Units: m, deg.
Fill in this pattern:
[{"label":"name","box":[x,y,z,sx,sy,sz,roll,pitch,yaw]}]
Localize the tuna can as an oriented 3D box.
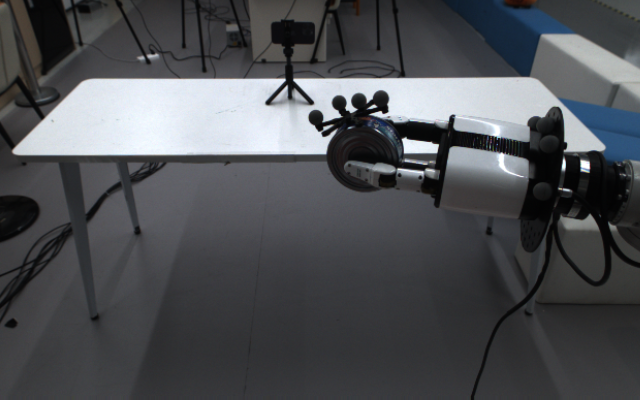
[{"label":"tuna can","box":[0.054,-0.054,0.562,0.085,0.085,0.034,11,34,13]}]
